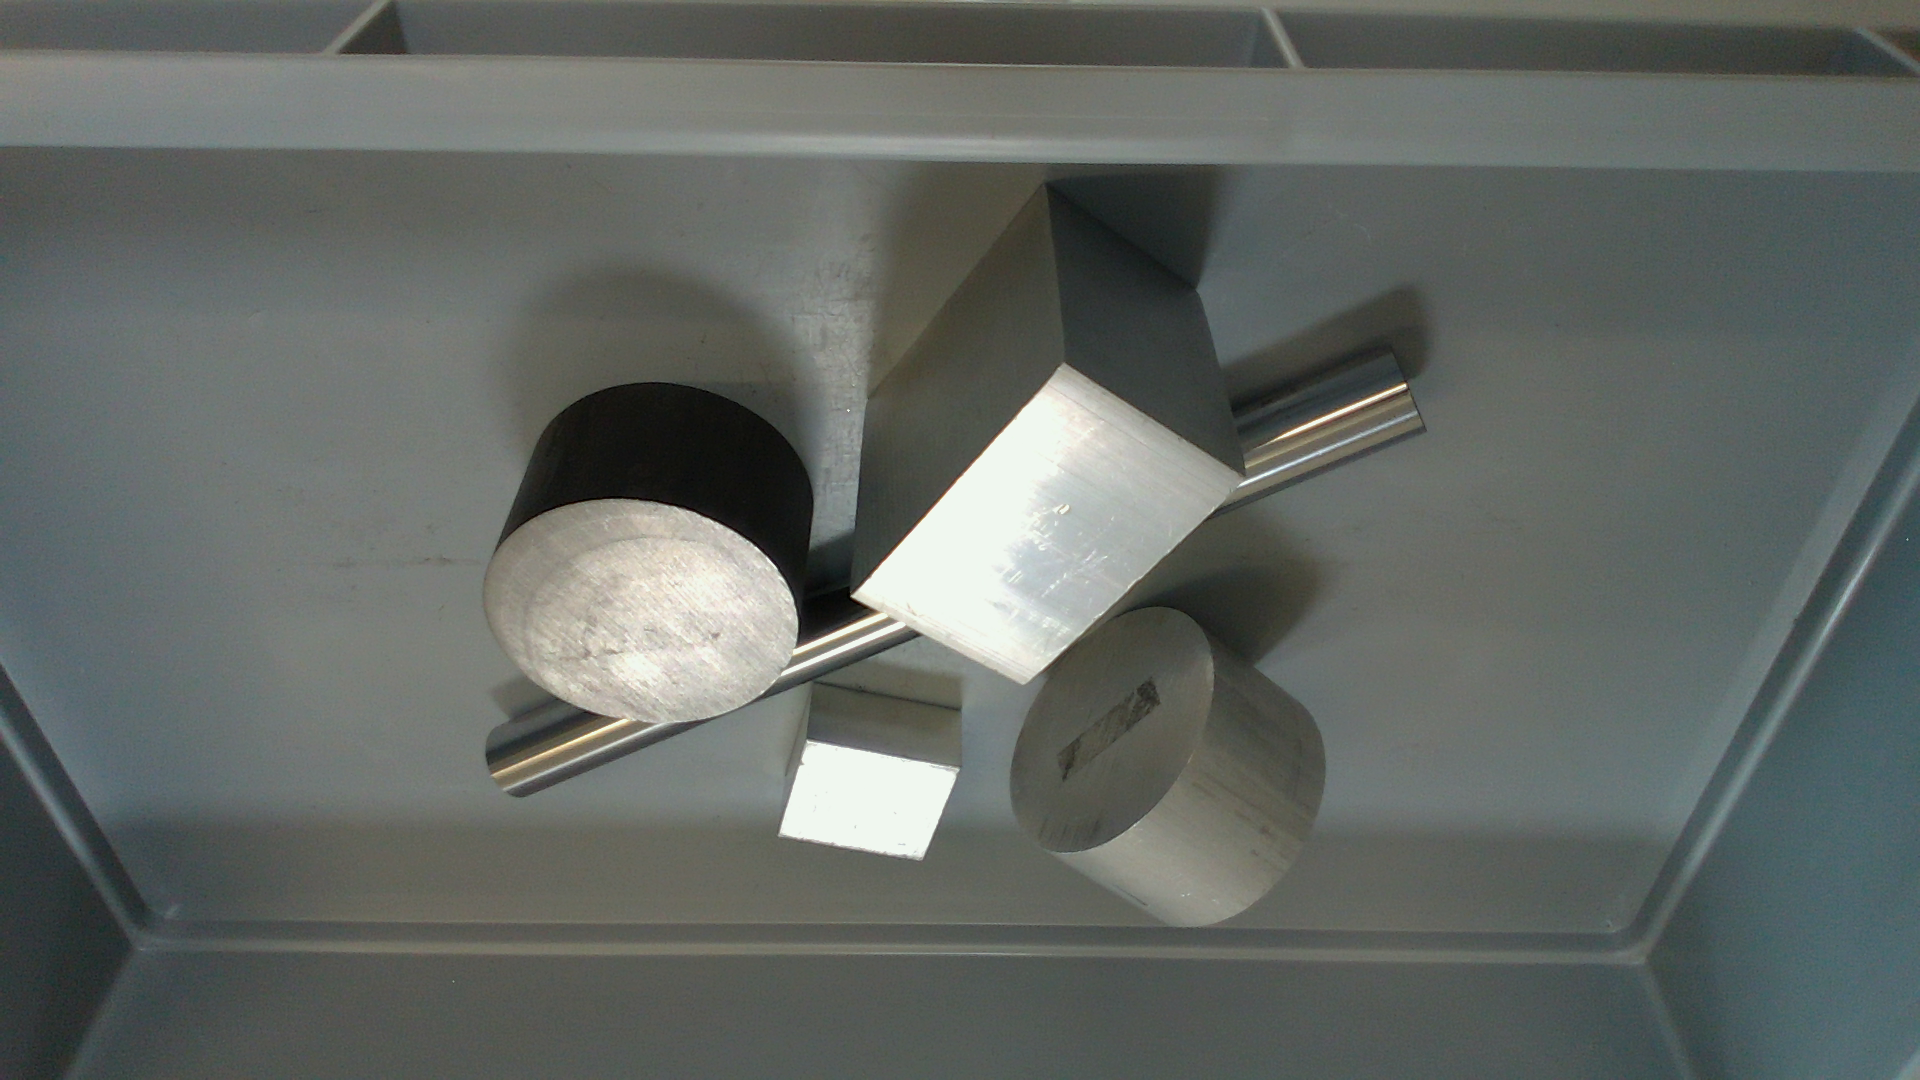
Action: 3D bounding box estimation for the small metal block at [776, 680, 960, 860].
[{"bbox_3d":[-0.030,0.077,0.454,0.050,0.025,0.050,11,129,-10],"label":"small metal block"}]

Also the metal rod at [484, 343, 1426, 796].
[{"bbox_3d":[-0.015,0.016,0.403,0.299,0.025,0.025,-23,127,18],"label":"metal rod"}]

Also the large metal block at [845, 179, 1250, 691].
[{"bbox_3d":[0.018,-0.025,0.332,0.050,0.080,0.080,29,124,-22],"label":"large metal block"}]

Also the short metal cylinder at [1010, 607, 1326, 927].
[{"bbox_3d":[0.061,0.067,0.410,0.050,0.080,0.080,35,122,-27],"label":"short metal cylinder"}]

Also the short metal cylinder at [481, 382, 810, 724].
[{"bbox_3d":[-0.083,0.004,0.376,0.080,0.050,0.080,0,130,0],"label":"short metal cylinder"}]
